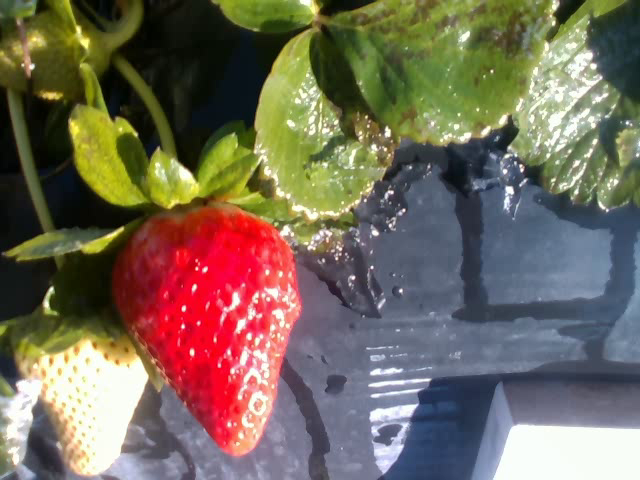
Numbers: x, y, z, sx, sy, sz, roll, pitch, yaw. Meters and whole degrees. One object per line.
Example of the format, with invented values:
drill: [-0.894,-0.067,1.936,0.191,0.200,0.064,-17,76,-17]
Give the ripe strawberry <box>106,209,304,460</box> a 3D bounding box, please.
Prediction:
ripe strawberry: [-0.021,0.024,0.136,0.042,0.061,0.046,-10,-10,8]
